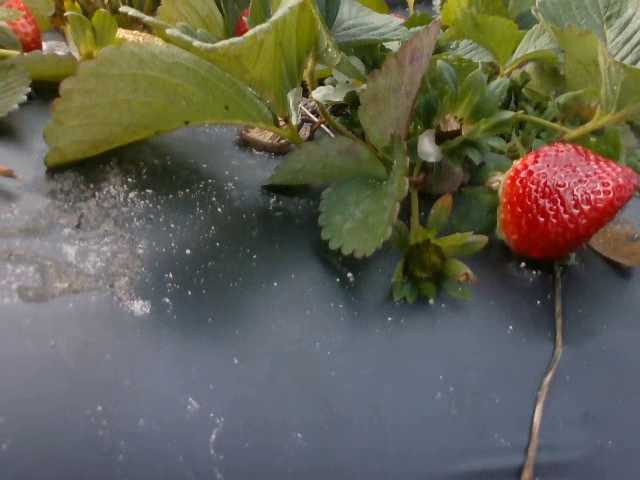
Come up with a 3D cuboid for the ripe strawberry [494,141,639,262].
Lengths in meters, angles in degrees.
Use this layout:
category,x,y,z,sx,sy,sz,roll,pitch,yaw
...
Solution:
category,x,y,z,sx,sy,sz,roll,pitch,yaw
ripe strawberry,0.090,-0.014,0.213,0.050,0.049,0.053,2,1,-16
